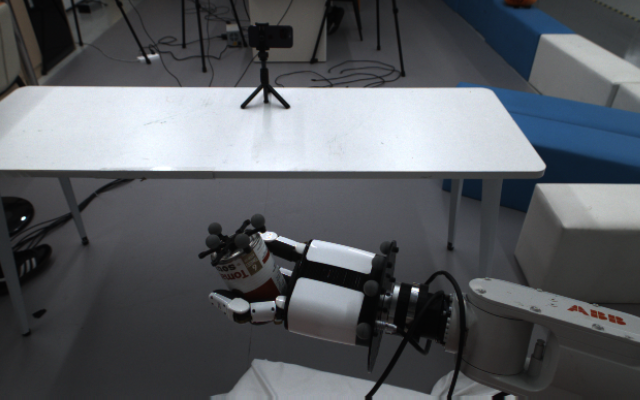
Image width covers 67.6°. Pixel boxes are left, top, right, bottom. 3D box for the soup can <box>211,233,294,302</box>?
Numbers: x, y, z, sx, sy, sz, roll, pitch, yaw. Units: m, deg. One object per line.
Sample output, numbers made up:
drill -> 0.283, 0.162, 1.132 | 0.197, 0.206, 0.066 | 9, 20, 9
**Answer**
soup can -> -0.081, 0.097, 0.608 | 0.067, 0.101, 0.067 | -21, 24, 10
